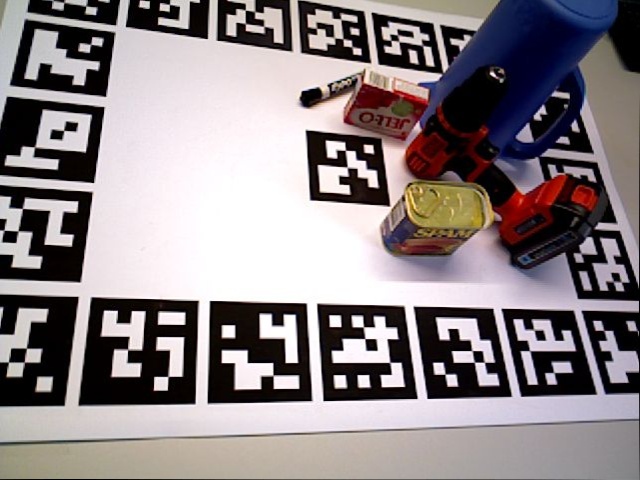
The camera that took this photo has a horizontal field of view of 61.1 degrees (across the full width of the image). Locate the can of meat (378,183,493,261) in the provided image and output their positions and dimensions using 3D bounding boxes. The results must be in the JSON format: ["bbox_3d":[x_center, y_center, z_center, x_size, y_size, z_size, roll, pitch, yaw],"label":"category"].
[{"bbox_3d":[0.124,-0.018,0.606,0.101,0.085,0.057,3,62,-16],"label":"can of meat"}]

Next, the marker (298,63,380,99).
[{"bbox_3d":[0.024,-0.206,0.702,0.119,0.020,0.019,-23,74,-23],"label":"marker"}]

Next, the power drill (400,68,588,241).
[{"bbox_3d":[0.198,-0.091,0.608,0.187,0.188,0.056,38,62,-3],"label":"power drill"}]

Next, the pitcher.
[{"bbox_3d":[0.245,-0.191,0.642,0.188,0.247,0.131,30,63,6],"label":"pitcher"}]

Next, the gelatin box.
[{"bbox_3d":[0.086,-0.163,0.673,0.089,0.075,0.030,15,65,-11],"label":"gelatin box"}]
